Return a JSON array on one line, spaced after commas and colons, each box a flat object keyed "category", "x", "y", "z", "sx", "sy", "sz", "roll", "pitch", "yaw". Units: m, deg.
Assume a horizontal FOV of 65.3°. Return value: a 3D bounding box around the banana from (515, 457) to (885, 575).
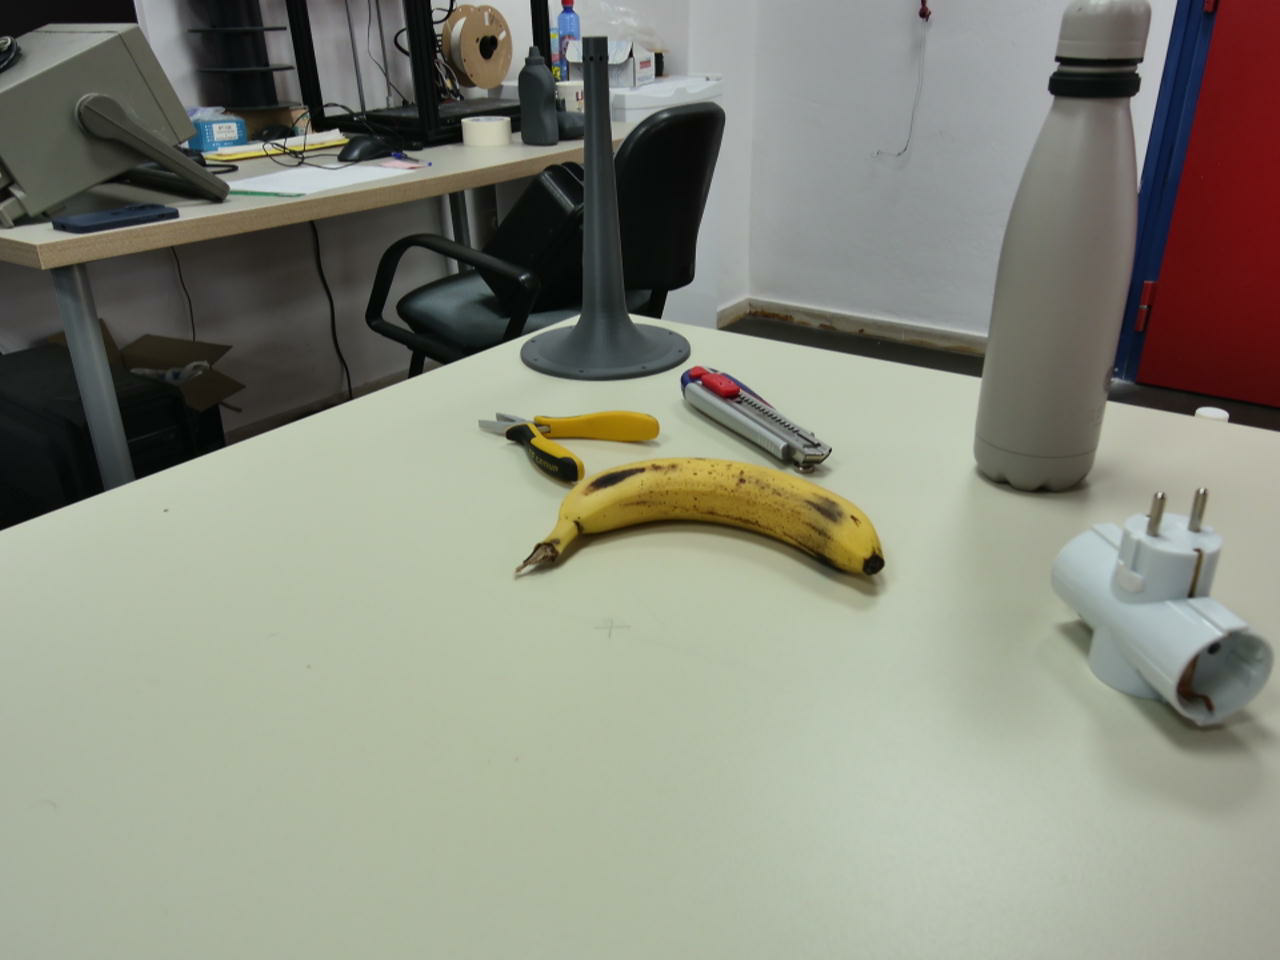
[{"category": "banana", "x": 0.038, "y": 0.019, "z": 0.552, "sx": 0.186, "sy": 0.038, "sz": 0.097, "roll": 3, "pitch": 24, "yaw": 9}]
